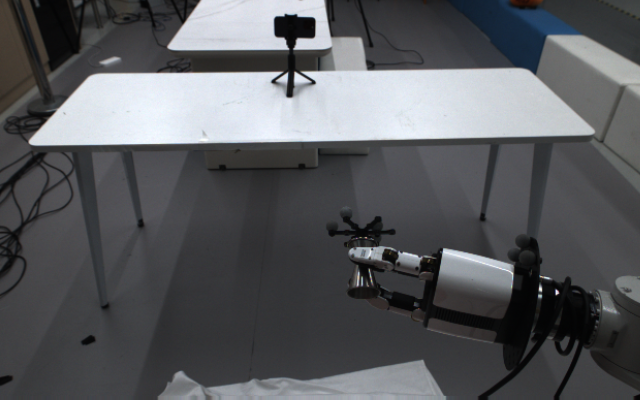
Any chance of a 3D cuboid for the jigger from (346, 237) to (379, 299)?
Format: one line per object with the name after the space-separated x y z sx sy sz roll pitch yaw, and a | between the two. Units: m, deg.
0.055 0.083 0.615 0.043 0.043 0.071 2 59 -1 | jigger
